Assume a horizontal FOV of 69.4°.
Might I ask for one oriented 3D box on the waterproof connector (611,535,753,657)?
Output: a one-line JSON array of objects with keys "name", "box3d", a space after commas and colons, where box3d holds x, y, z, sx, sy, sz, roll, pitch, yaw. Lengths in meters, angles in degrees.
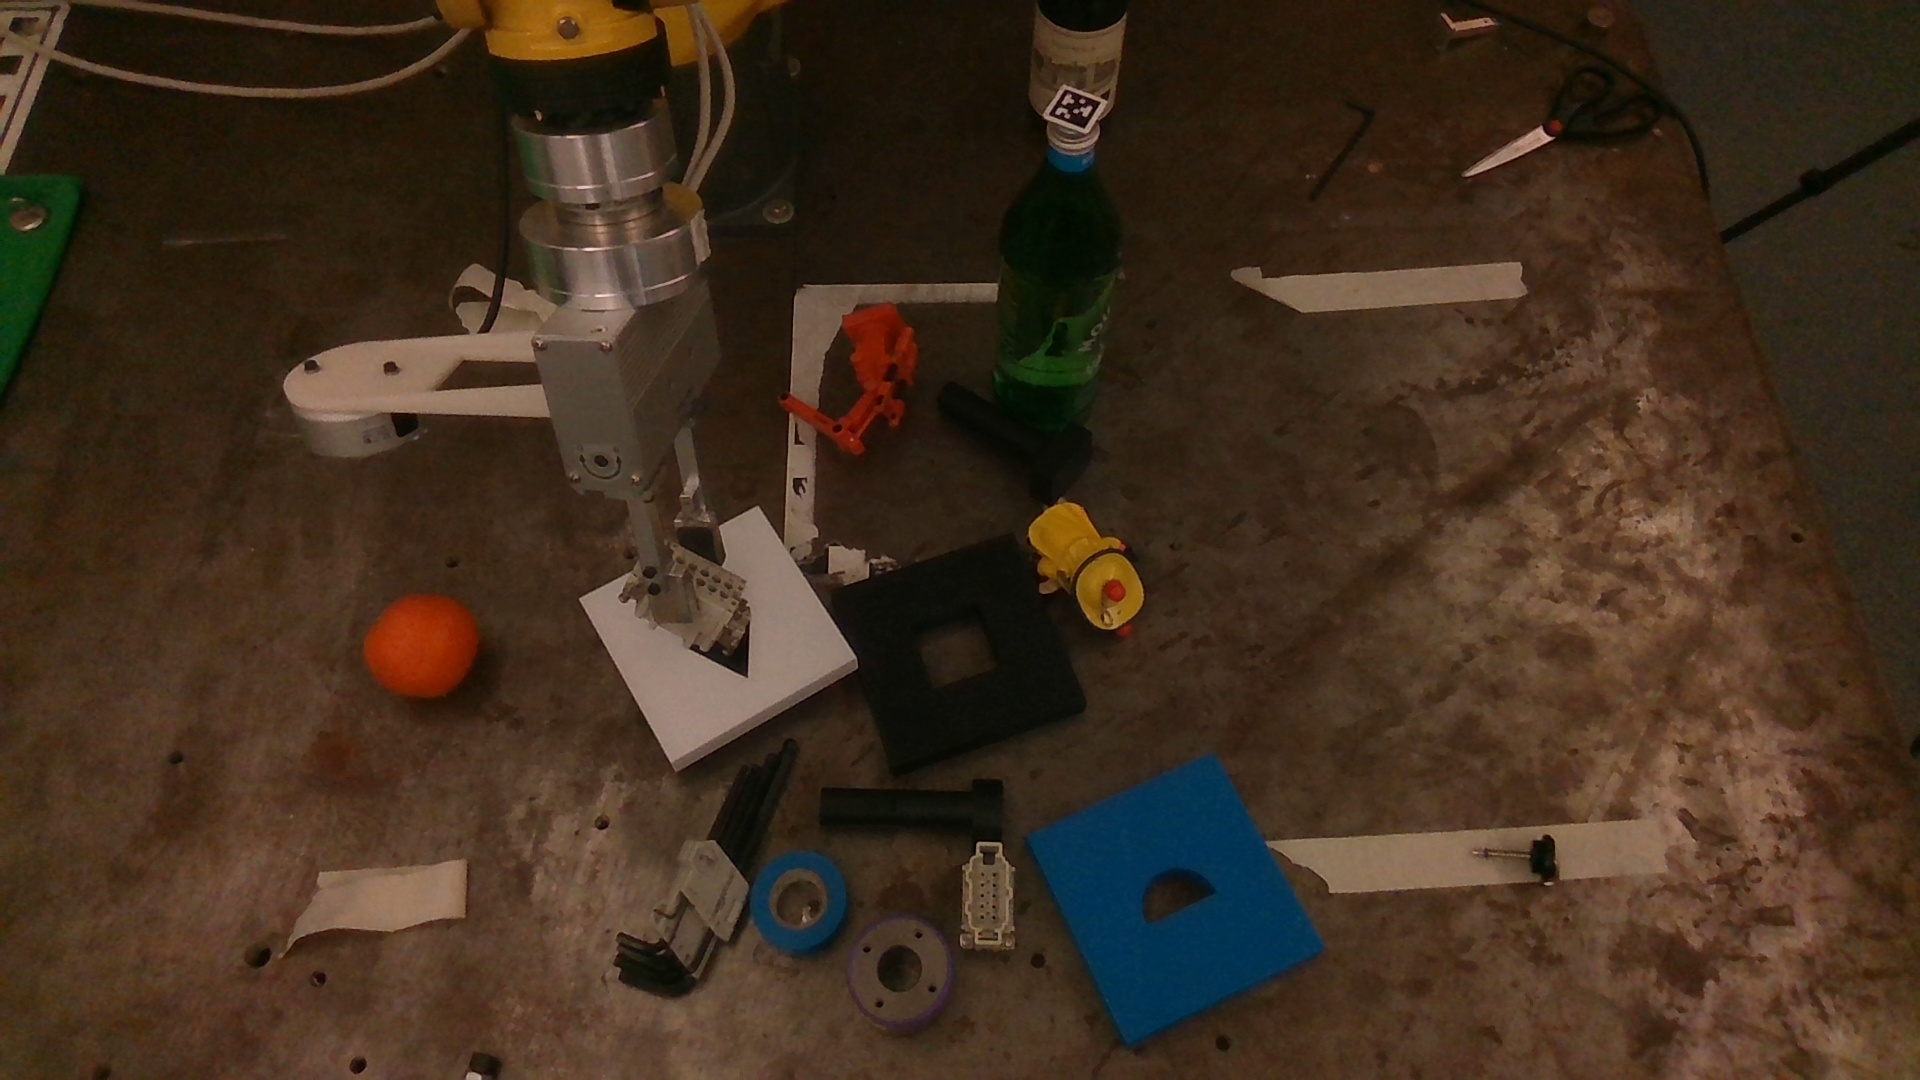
[{"name": "waterproof connector", "box3d": [-0.138, 0.029, 0.694, 0.069, 0.039, 0.036, 28, 32, -12]}]
